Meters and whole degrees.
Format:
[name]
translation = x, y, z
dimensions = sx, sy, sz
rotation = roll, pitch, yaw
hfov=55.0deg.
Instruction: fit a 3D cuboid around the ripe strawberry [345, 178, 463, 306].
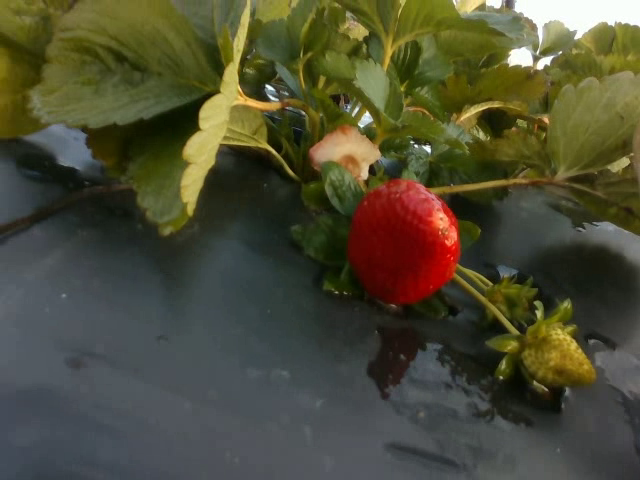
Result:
[ripe strawberry]
translation = 0.035, -0.001, 0.212
dimensions = 0.043, 0.052, 0.057
rotation = -10, -8, -10
